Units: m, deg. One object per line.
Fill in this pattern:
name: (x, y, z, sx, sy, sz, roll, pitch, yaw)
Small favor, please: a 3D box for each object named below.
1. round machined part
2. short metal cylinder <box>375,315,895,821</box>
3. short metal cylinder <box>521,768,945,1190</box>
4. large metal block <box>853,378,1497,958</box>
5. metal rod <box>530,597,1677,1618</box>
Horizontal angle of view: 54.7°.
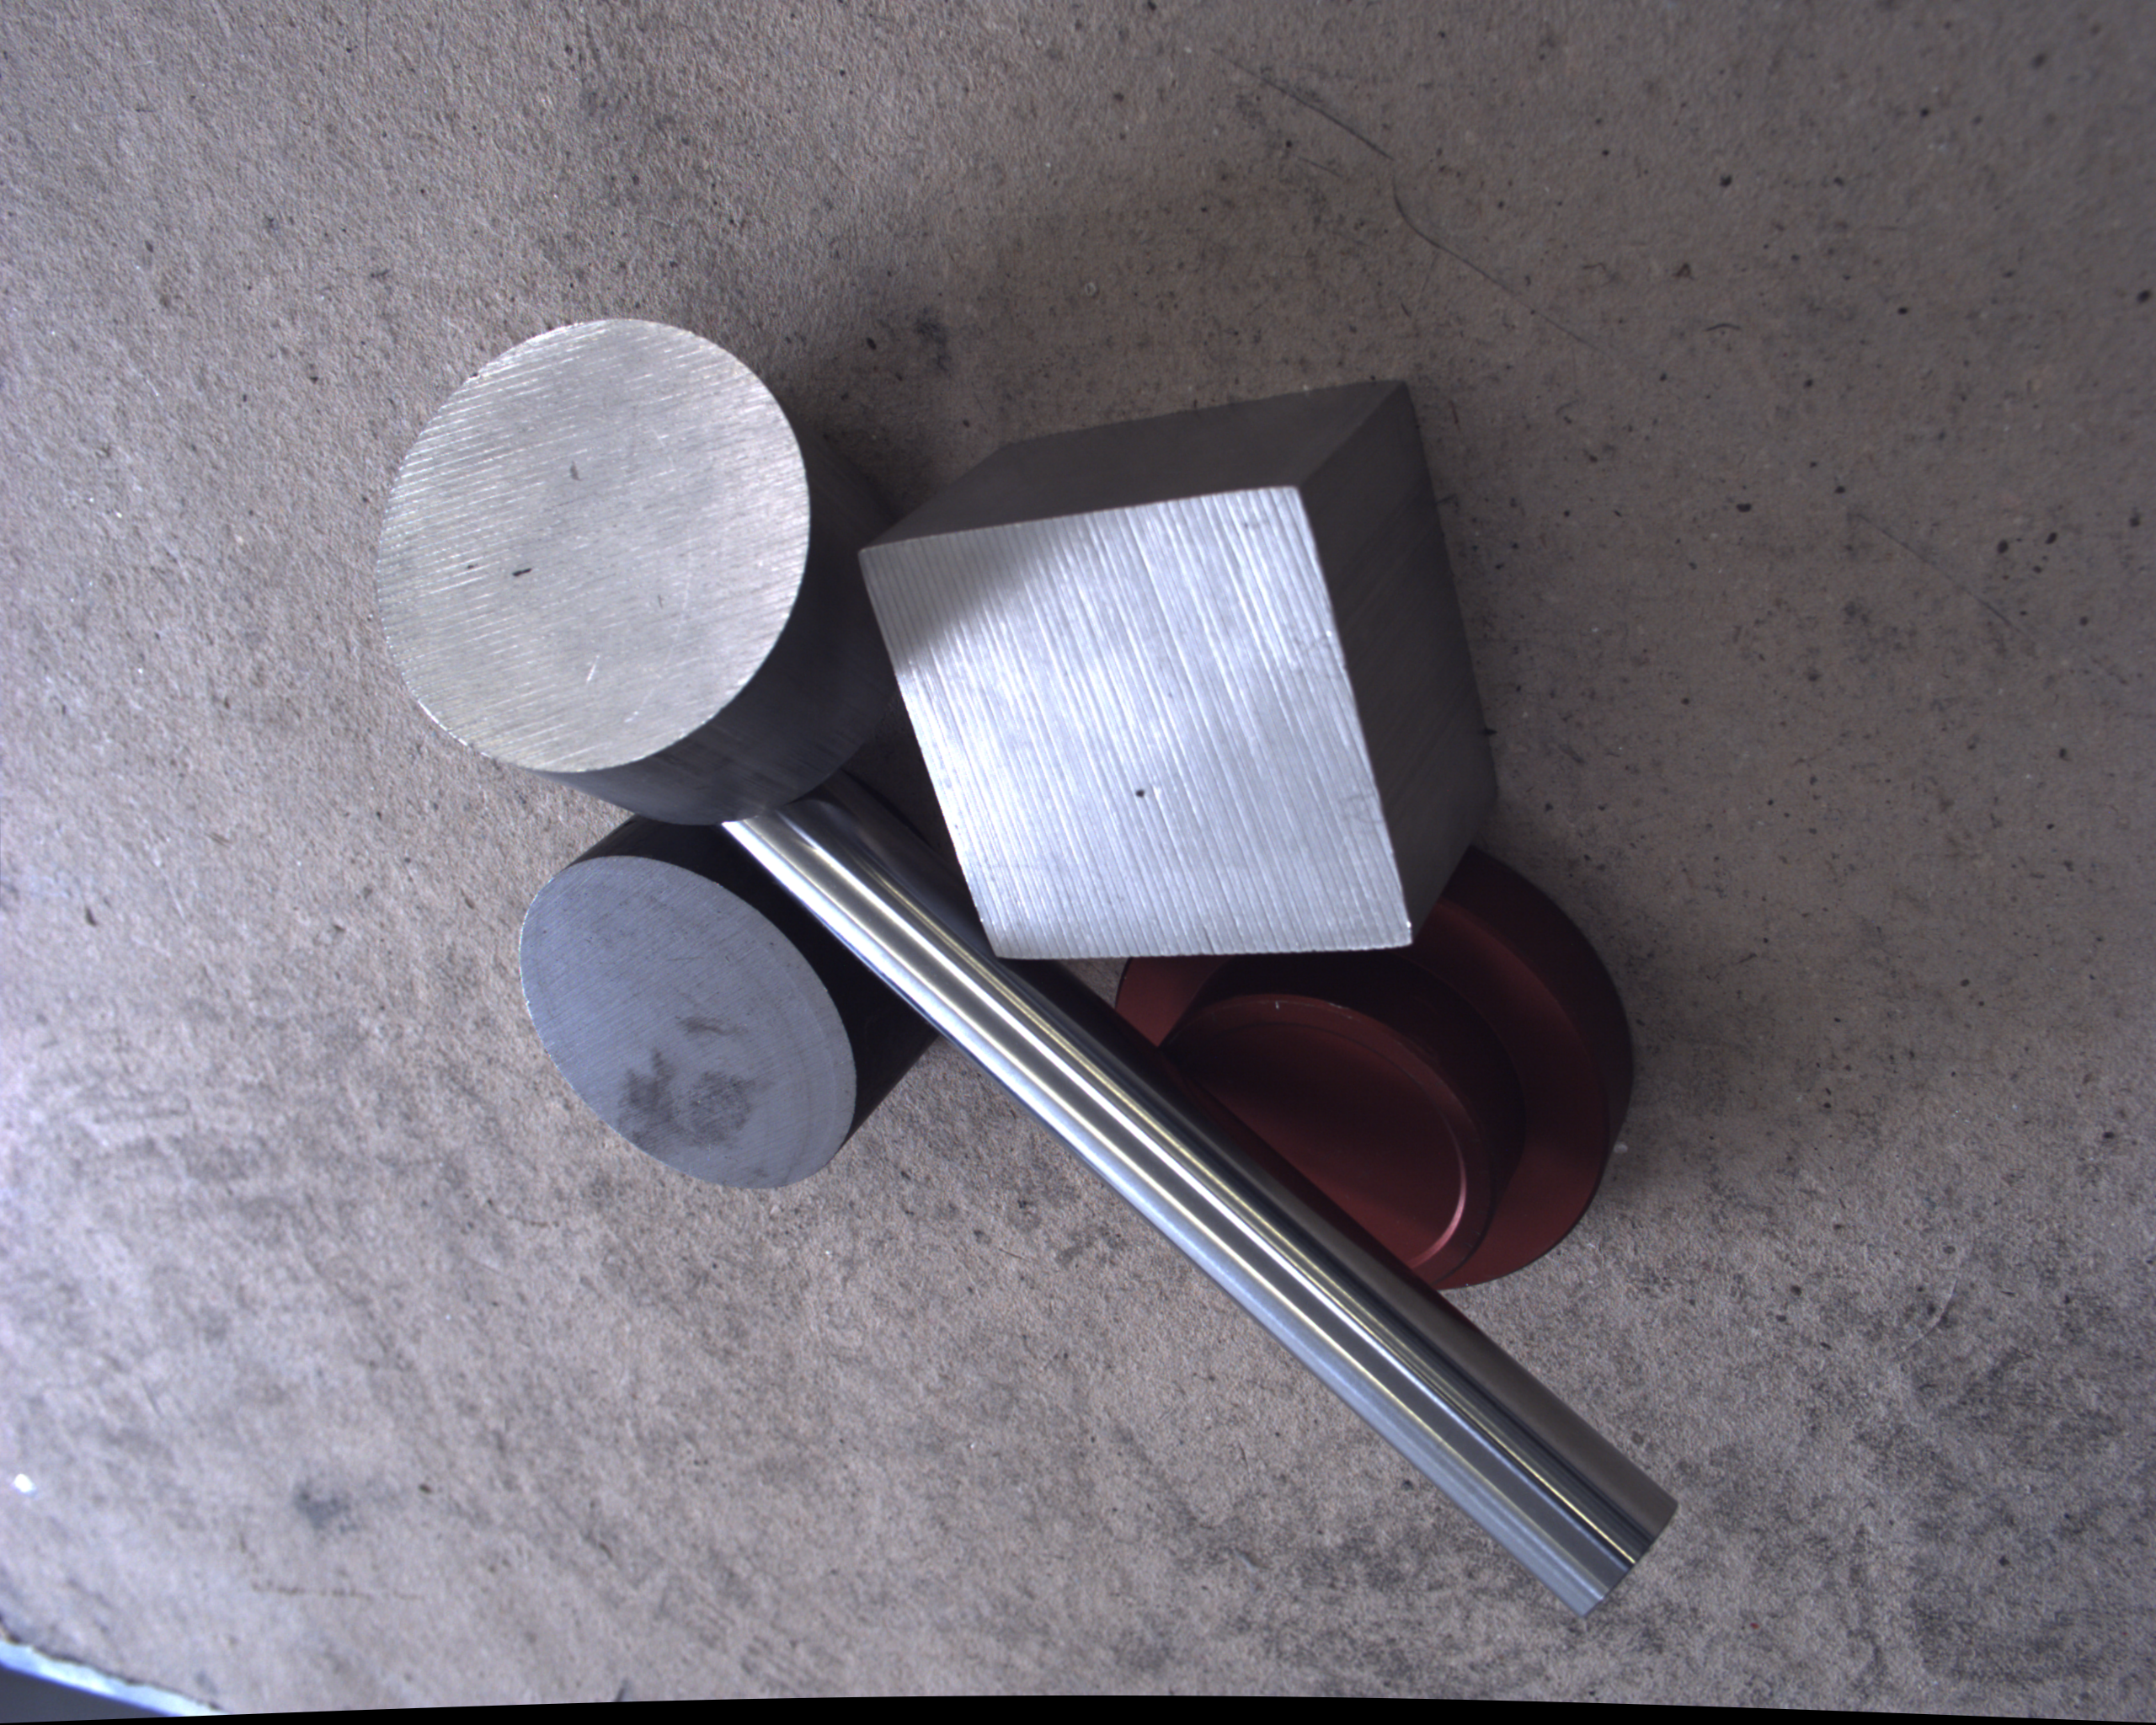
round machined part: (0.051, 0.044, 0.397, 0.098, 0.042, 0.097, 13, 124, 21)
short metal cylinder: (-0.077, -0.051, 0.377, 0.080, 0.050, 0.080, -2, 80, 14)
short metal cylinder: (-0.069, 0.022, 0.444, 0.080, 0.050, 0.079, 13, 124, 21)
large metal block: (0.019, -0.031, 0.360, 0.080, 0.050, 0.080, -3, 117, 29)
metal rod: (-0.019, 0.022, 0.388, 0.300, 0.025, 0.025, 40, 130, 17)
